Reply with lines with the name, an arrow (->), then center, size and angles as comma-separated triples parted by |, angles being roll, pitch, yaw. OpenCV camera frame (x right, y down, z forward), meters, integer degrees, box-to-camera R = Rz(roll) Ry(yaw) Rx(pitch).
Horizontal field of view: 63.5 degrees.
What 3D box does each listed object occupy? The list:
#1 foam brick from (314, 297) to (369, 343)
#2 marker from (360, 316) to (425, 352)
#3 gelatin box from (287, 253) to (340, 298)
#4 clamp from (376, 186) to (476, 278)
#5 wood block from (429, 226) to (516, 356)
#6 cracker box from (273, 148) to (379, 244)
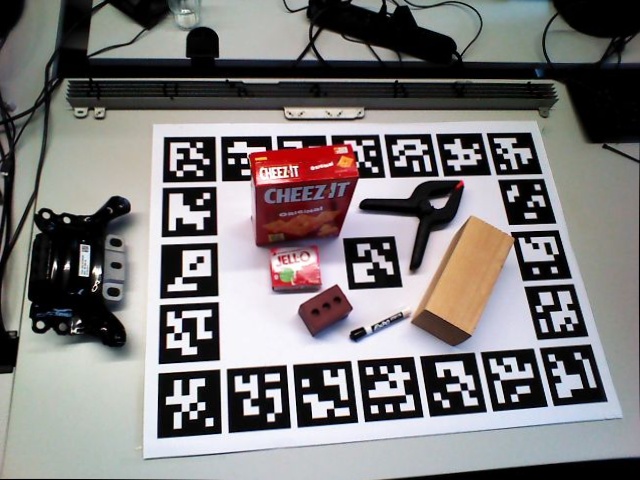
foam brick -> 0.036, 0.133, 0.883 | 0.078, 0.051, 0.052 | -26, 76, -15
marker -> 0.125, 0.164, 0.898 | 0.121, 0.020, 0.019 | -21, 75, -14
gelatin box -> -0.013, 0.062, 0.918 | 0.089, 0.030, 0.073 | -3, 71, -8
clamp -> 0.232, -0.044, 0.981 | 0.202, 0.037, 0.165 | -32, 77, -16
wood block -> 0.284, 0.087, 0.913 | 0.090, 0.091, 0.205 | 30, 66, 8
cracker box -> 0.006, -0.067, 0.863 | 0.164, 0.214, 0.071 | -5, 69, -11
